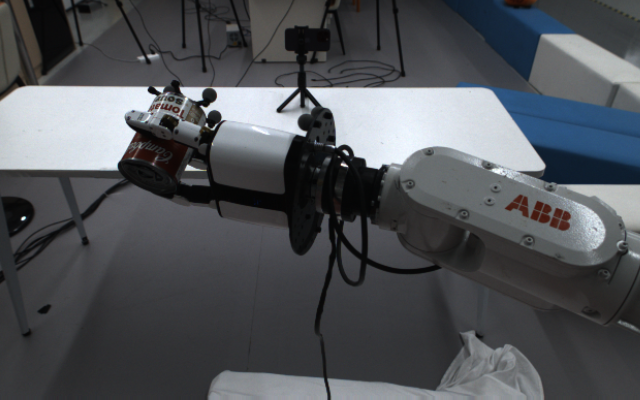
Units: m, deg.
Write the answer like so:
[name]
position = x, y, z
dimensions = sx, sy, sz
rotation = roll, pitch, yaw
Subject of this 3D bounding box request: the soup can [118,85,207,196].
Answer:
[soup can]
position = -0.181, -0.066, 0.568
dimensions = 0.067, 0.067, 0.101
rotation = 9, 60, 10
